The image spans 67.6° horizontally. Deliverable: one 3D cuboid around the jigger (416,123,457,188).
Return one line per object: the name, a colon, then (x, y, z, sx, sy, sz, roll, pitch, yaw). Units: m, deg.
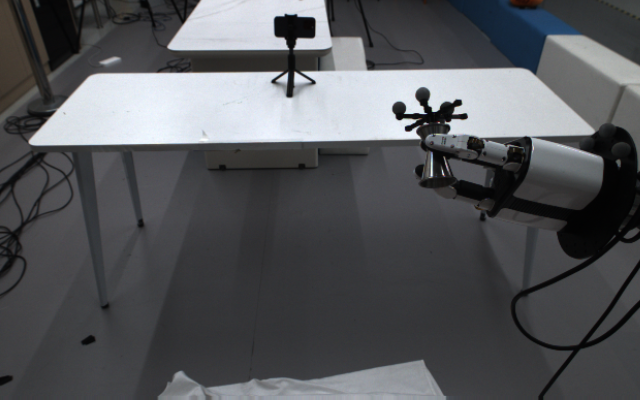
jigger: (0.138, -0.055, 0.573, 0.043, 0.043, 0.071, 0, 75, -3)
